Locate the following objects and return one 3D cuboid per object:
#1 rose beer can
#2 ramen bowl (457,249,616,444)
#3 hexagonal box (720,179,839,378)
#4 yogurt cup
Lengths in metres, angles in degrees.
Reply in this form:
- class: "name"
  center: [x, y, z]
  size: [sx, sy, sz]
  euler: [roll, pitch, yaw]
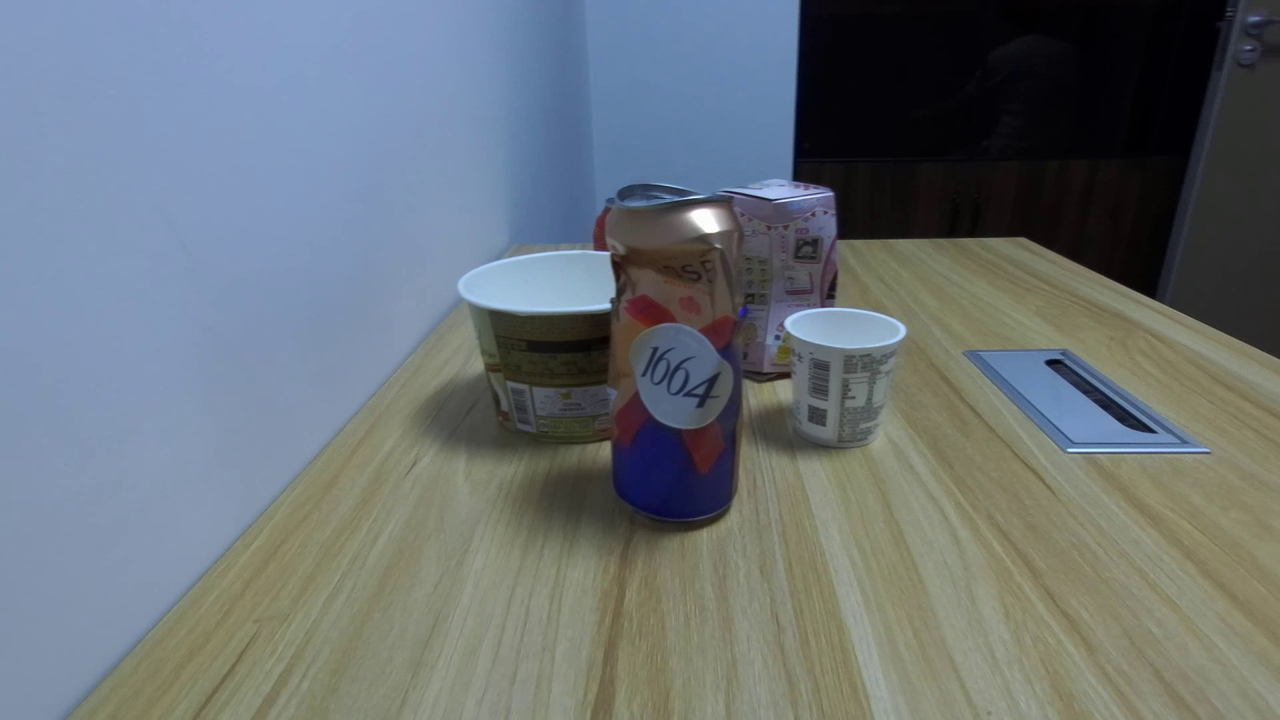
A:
- class: "rose beer can"
  center: [0.017, -0.001, 0.349]
  size: [0.073, 0.162, 0.068]
  euler: [3, 20, 11]
- class: "ramen bowl"
  center: [-0.041, -0.011, 0.463]
  size: [0.140, 0.095, 0.140]
  euler: [-3, 21, 1]
- class: "hexagonal box"
  center: [0.096, -0.059, 0.520]
  size: [0.093, 0.134, 0.088]
  euler: [-11, 23, -24]
- class: "yogurt cup"
  center: [0.120, 0.011, 0.428]
  size: [0.072, 0.068, 0.072]
  euler: [-1, 23, 1]
